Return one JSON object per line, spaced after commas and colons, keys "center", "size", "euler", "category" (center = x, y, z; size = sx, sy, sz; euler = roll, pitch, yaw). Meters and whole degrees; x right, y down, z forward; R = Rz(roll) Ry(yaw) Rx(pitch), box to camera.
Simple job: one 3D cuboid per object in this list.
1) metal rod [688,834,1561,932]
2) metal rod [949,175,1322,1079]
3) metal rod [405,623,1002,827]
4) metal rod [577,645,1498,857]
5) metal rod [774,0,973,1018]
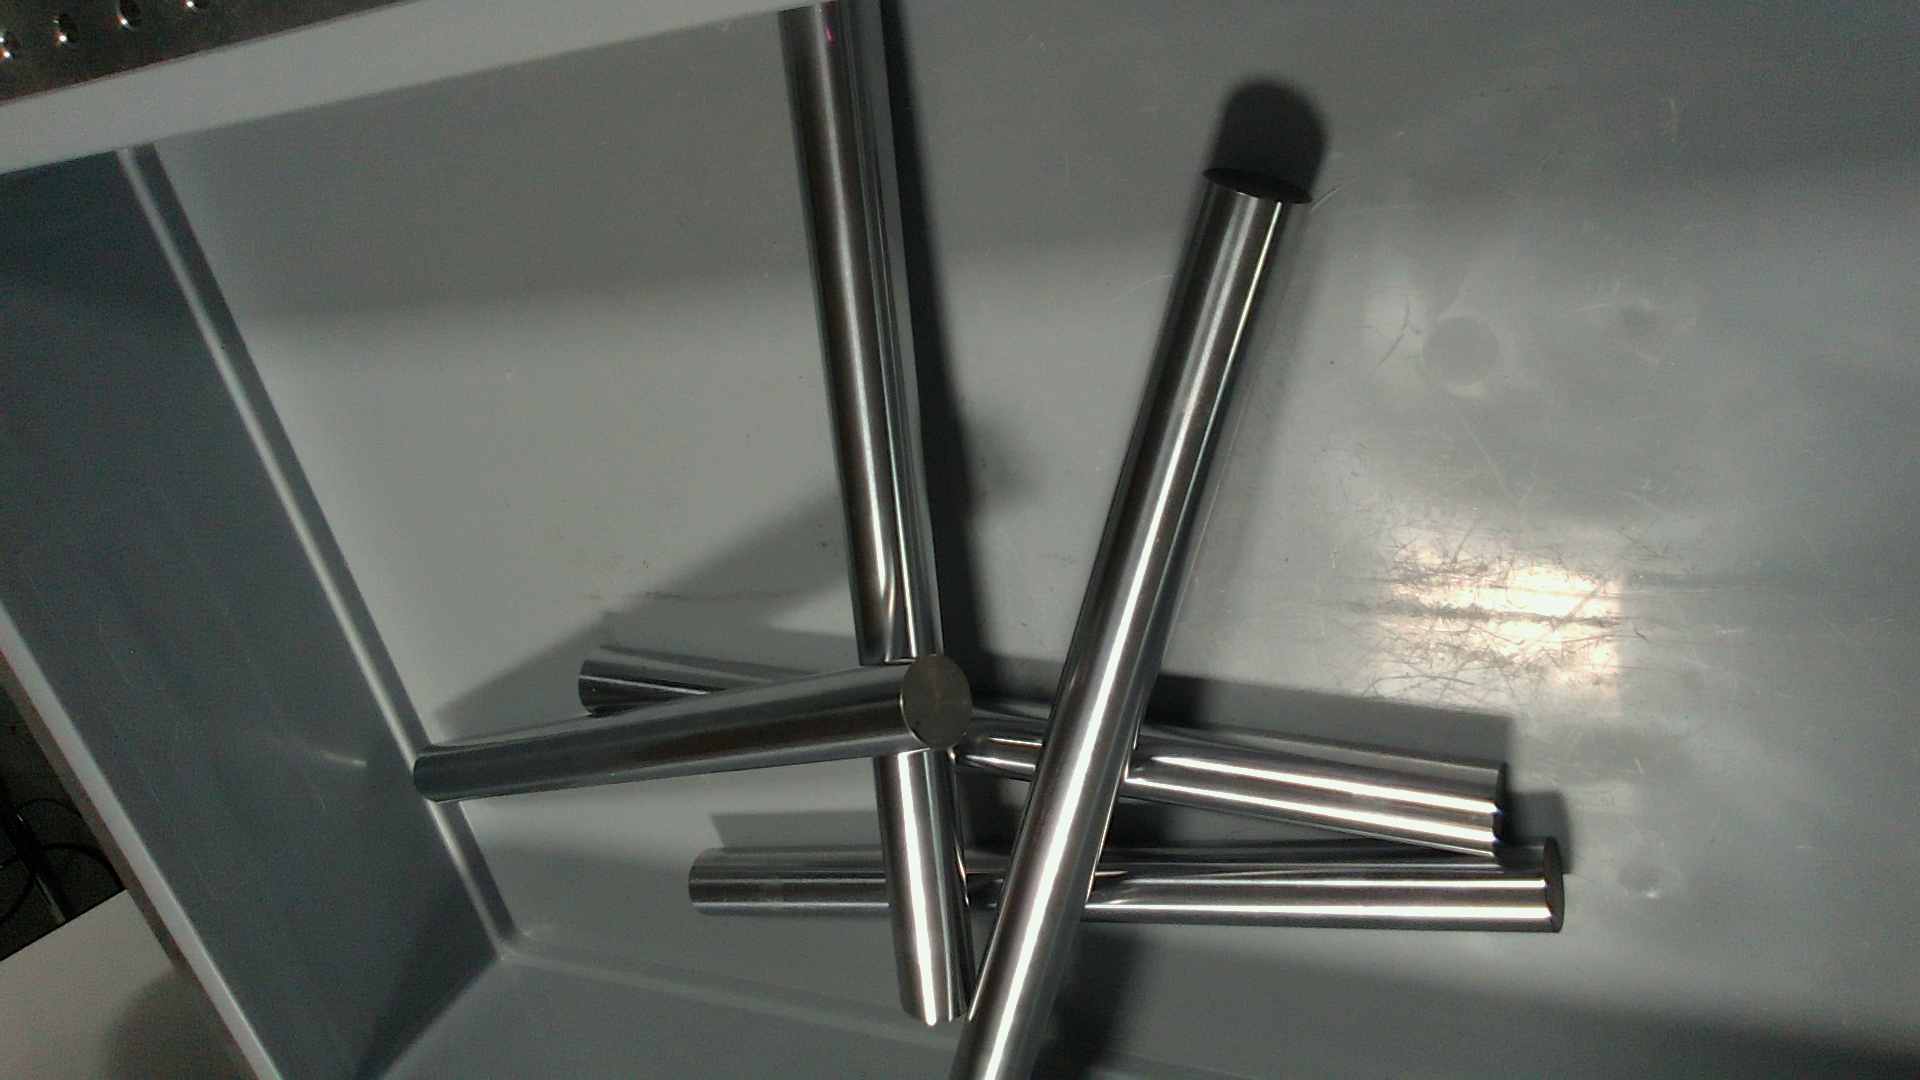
{"center": [0.031, 0.110, 0.443], "size": [0.299, 0.025, 0.025], "euler": [-9, 114, 32], "category": "metal rod"}
{"center": [0.038, 0.051, 0.377], "size": [0.025, 0.025, 0.300], "euler": [22, 119, 15], "category": "metal rod"}
{"center": [-0.105, 0.069, 0.458], "size": [0.299, 0.025, 0.025], "euler": [-18, 109, 41], "category": "metal rod"}
{"center": [0.006, 0.060, 0.425], "size": [0.299, 0.025, 0.025], "euler": [5, 121, 26], "category": "metal rod"}
{"center": [-0.020, 0.007, 0.384], "size": [0.025, 0.025, 0.300], "euler": [6, 115, 25], "category": "metal rod"}
